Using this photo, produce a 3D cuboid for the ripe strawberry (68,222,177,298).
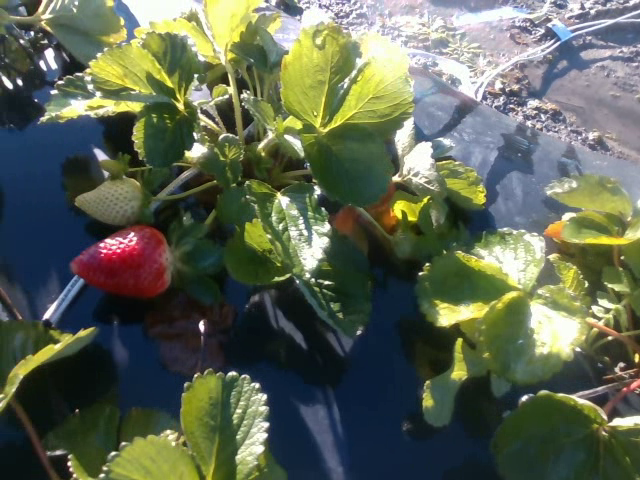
[{"bbox_3d":[-0.126,0.014,0.408,0.080,0.063,0.040,-4,-6,-33],"label":"ripe strawberry"}]
